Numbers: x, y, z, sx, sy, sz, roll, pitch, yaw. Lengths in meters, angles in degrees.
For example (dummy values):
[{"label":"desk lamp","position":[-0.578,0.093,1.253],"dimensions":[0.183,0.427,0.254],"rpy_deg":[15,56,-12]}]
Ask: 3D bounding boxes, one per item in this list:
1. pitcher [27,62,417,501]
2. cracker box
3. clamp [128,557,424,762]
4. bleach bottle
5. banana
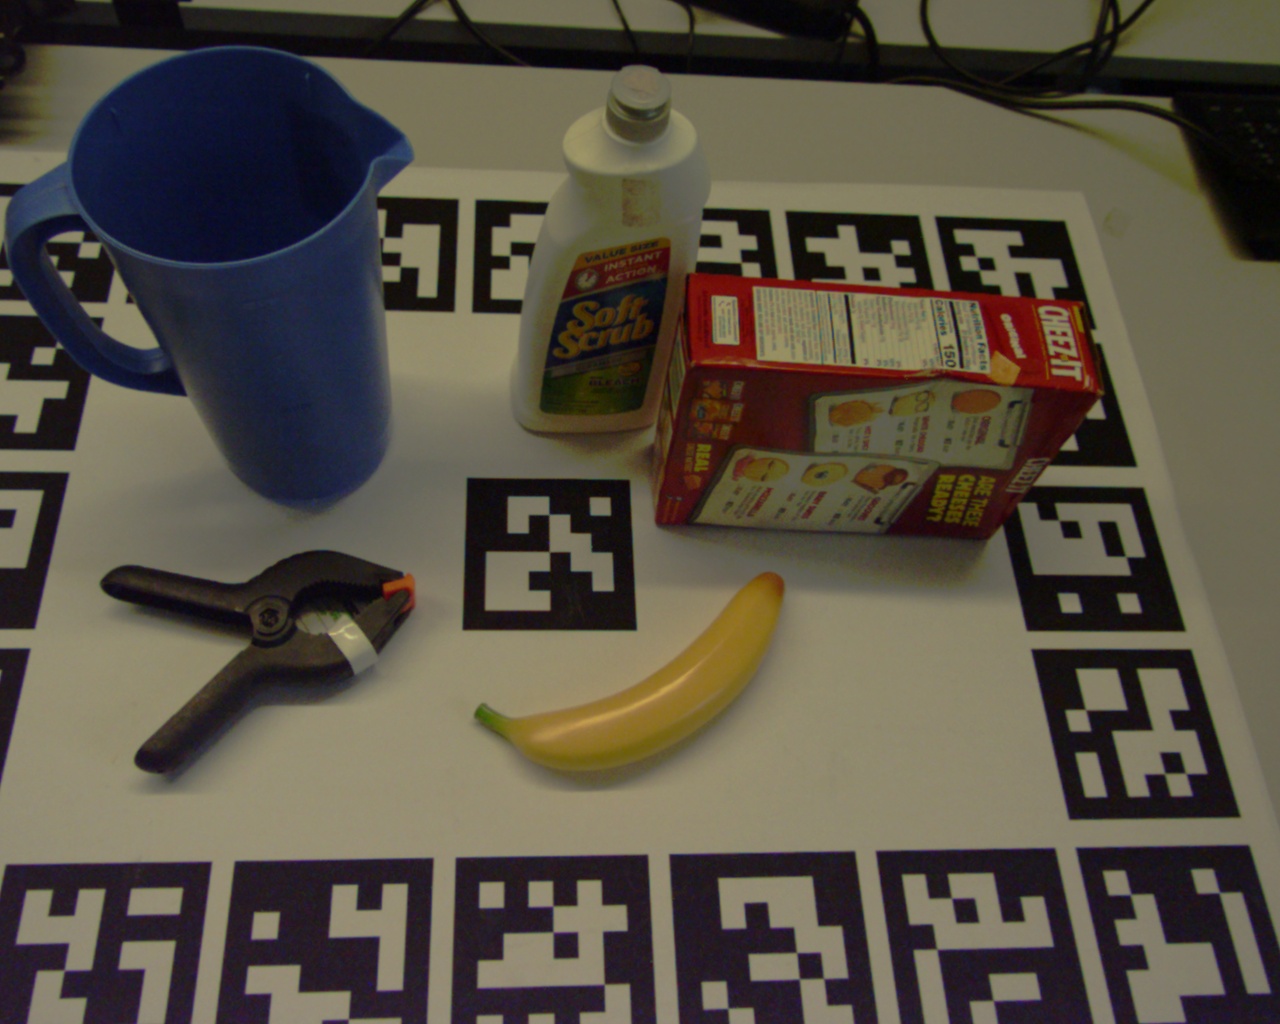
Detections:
[{"label":"pitcher","position":[-0.214,-0.107,0.630],"dimensions":[0.187,0.242,0.134],"rpy_deg":[-16,62,-18]},{"label":"cracker box","position":[0.123,-0.053,0.684],"dimensions":[0.213,0.164,0.072],"rpy_deg":[1,57,-3]},{"label":"clamp","position":[-0.208,0.070,0.671],"dimensions":[0.164,0.036,0.123],"rpy_deg":[-14,61,-15]},{"label":"bleach bottle","position":[-0.032,-0.132,0.684],"dimensions":[0.102,0.250,0.068],"rpy_deg":[0,59,-6]},{"label":"banana","position":[0.012,0.095,0.686],"dimensions":[0.196,0.039,0.075],"rpy_deg":[-32,67,-21]}]
